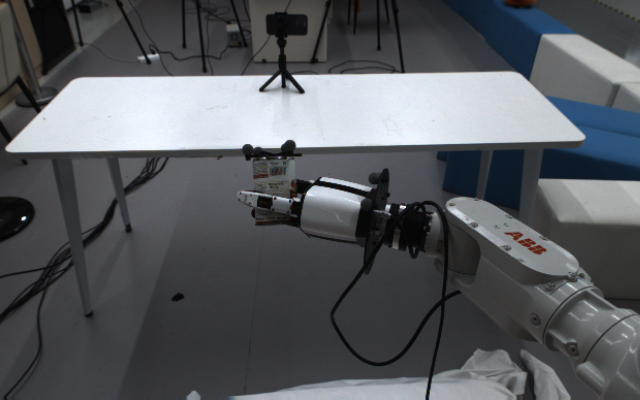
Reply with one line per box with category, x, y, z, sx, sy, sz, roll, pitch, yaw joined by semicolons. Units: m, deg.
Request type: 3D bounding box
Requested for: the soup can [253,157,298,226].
soup can;-0.068;-0.012;0.741;0.067;0.101;0.067;-3;-1;0
